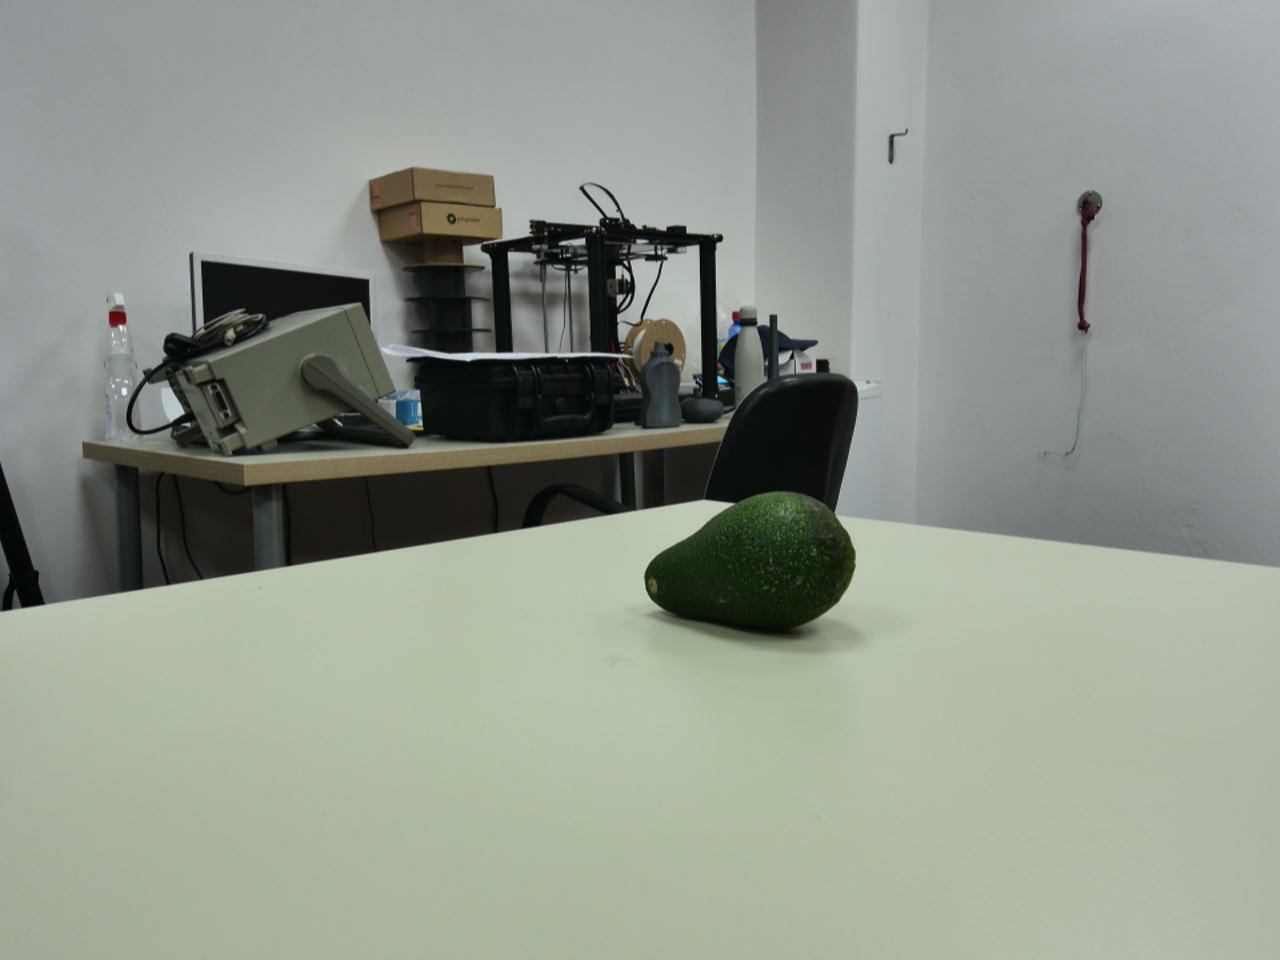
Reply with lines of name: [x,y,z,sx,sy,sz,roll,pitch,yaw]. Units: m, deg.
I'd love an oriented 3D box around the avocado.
avocado: [0.065,0.043,0.557,0.074,0.076,0.123,-3,6,-36]
